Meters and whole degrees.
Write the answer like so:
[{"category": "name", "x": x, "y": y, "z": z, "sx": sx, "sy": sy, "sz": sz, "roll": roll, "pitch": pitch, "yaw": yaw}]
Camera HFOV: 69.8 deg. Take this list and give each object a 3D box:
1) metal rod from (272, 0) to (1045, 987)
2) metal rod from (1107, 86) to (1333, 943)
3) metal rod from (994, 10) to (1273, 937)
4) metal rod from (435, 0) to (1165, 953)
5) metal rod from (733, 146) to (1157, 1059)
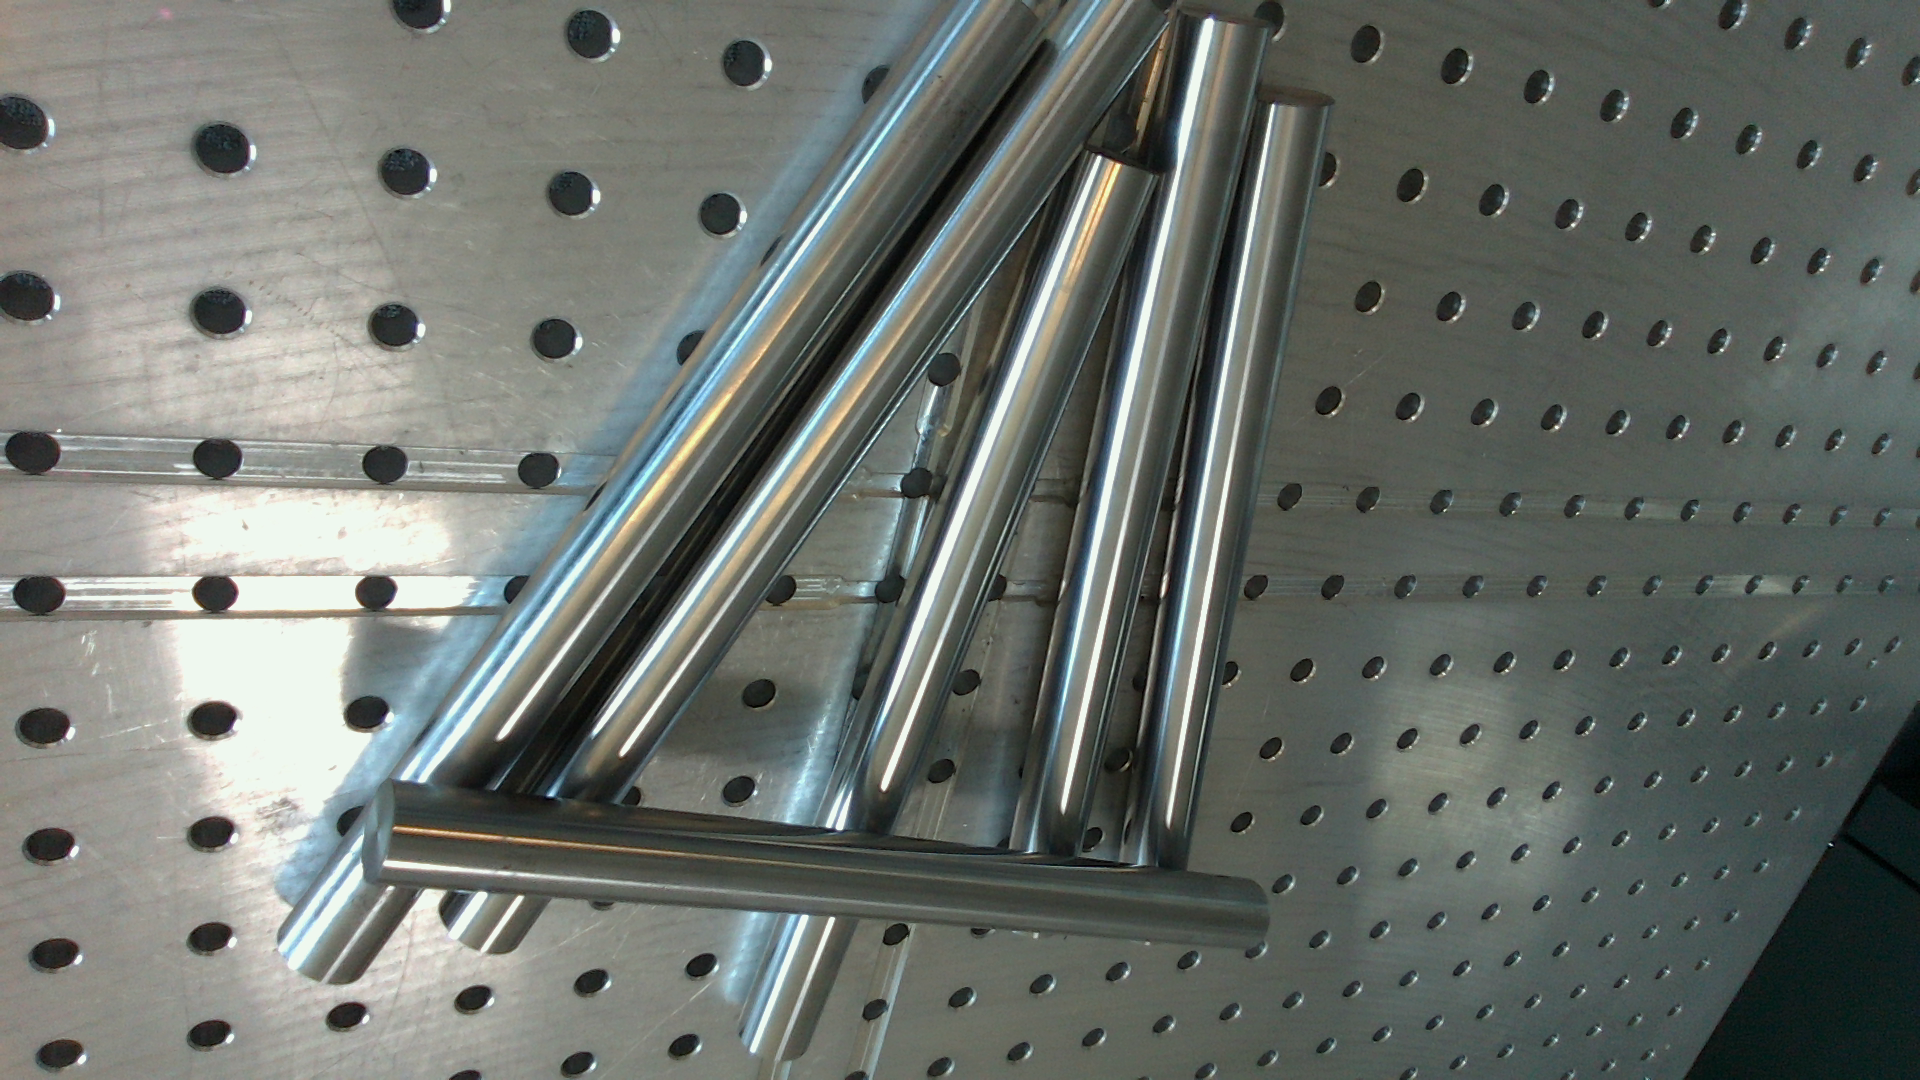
[{"category": "metal rod", "x": -0.080, "y": -0.008, "z": 0.342, "sx": 0.025, "sy": 0.025, "sz": 0.300, "roll": 31, "pitch": 101, "yaw": -38}, {"category": "metal rod", "x": 0.077, "y": 0.012, "z": 0.440, "sx": 0.025, "sy": 0.025, "sz": 0.300, "roll": -10, "pitch": 123, "yaw": -23}, {"category": "metal rod", "x": 0.045, "y": 0.000, "z": 0.416, "sx": 0.025, "sy": 0.025, "sz": 0.300, "roll": -5, "pitch": 121, "yaw": -26}, {"category": "metal rod", "x": -0.048, "y": -0.013, "z": 0.359, "sx": 0.025, "sy": 0.025, "sz": 0.300, "roll": 29, "pitch": 103, "yaw": -37}, {"category": "metal rod", "x": -0.012, "y": 0.032, "z": 0.405, "sx": 0.025, "sy": 0.025, "sz": 0.300, "roll": 8, "pitch": 114, "yaw": -32}]
